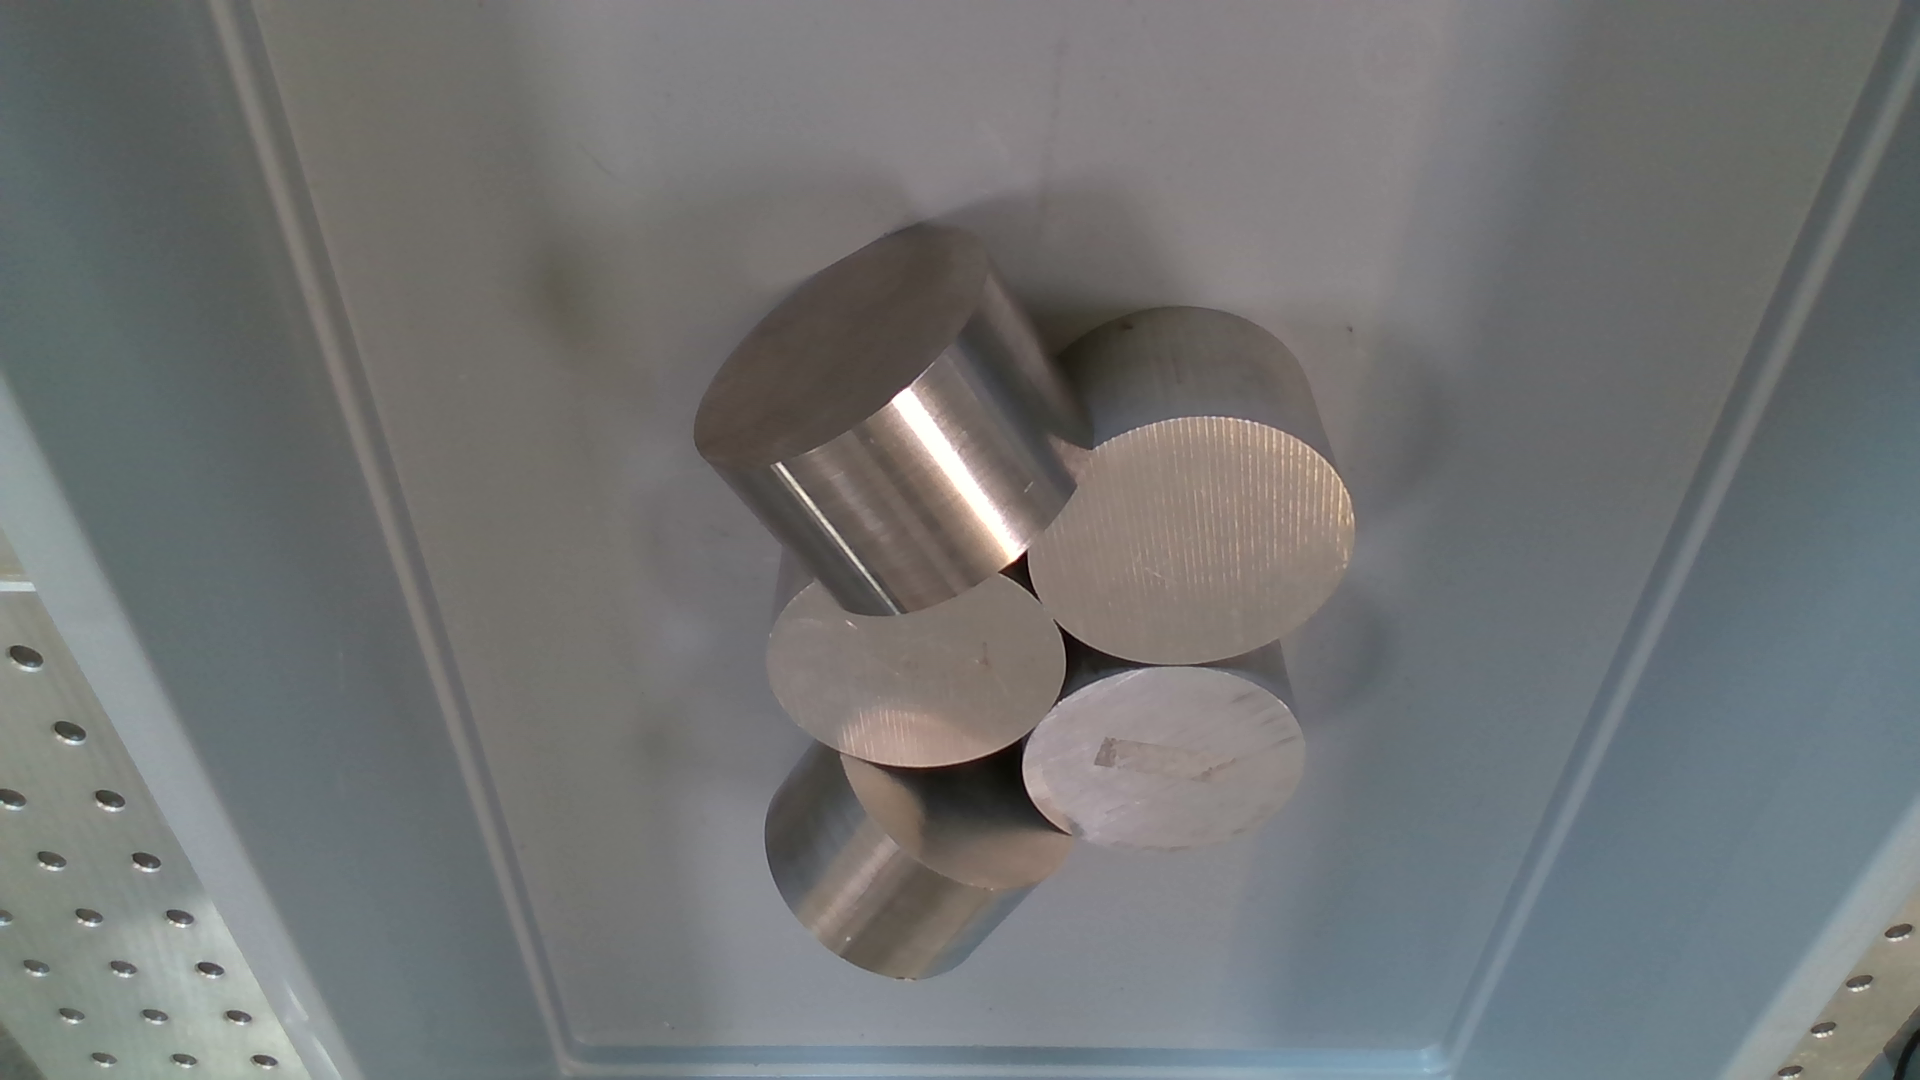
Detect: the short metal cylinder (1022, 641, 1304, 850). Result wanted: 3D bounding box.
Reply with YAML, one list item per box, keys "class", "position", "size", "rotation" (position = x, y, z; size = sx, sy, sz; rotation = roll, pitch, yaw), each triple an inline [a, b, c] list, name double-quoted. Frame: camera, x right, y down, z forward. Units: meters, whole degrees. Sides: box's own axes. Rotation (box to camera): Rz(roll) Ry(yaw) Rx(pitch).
- class: "short metal cylinder"
  position: [0.058, 0.048, 0.411]
  size: [0.080, 0.050, 0.080]
  rotation: [0, 130, 0]

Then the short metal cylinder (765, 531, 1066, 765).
- class: "short metal cylinder"
  position: [-0.012, 0.018, 0.386]
  size: [0.080, 0.050, 0.080]
  rotation: [0, 130, 0]

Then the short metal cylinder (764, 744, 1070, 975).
- class: "short metal cylinder"
  position: [-0.013, 0.085, 0.423]
  size: [0.080, 0.080, 0.050]
  rotation: [23, 126, -18]

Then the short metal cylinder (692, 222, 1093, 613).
- class: "short metal cylinder"
  position: [-0.016, -0.029, 0.327]
  size: [0.080, 0.080, 0.050]
  rotation: [-24, 126, 19]

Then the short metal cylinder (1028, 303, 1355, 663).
- class: "short metal cylinder"
  position: [0.057, -0.014, 0.359]
  size: [0.080, 0.050, 0.080]
  rotation: [0, 130, 0]
